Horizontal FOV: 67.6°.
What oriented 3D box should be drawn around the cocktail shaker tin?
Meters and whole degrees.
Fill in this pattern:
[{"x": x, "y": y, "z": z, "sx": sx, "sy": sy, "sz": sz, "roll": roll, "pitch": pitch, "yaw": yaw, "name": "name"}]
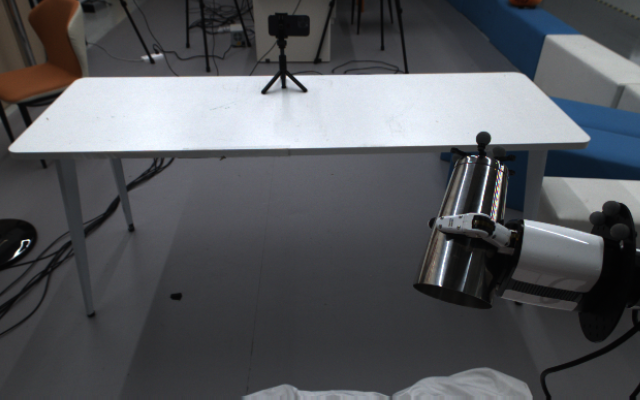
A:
[{"x": 0.180, "y": 0.036, "z": 0.589, "sx": 0.093, "sy": 0.093, "sz": 0.170, "roll": 14, "pitch": 73, "yaw": 16, "name": "cocktail shaker tin"}]
